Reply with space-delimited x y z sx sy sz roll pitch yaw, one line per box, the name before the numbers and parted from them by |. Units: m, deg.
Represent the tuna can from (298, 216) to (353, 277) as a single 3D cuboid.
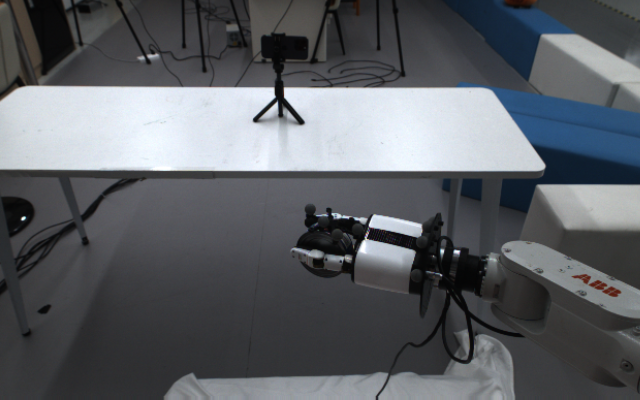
tuna can | 0.011 0.077 0.761 0.085 0.085 0.034 16 29 19
